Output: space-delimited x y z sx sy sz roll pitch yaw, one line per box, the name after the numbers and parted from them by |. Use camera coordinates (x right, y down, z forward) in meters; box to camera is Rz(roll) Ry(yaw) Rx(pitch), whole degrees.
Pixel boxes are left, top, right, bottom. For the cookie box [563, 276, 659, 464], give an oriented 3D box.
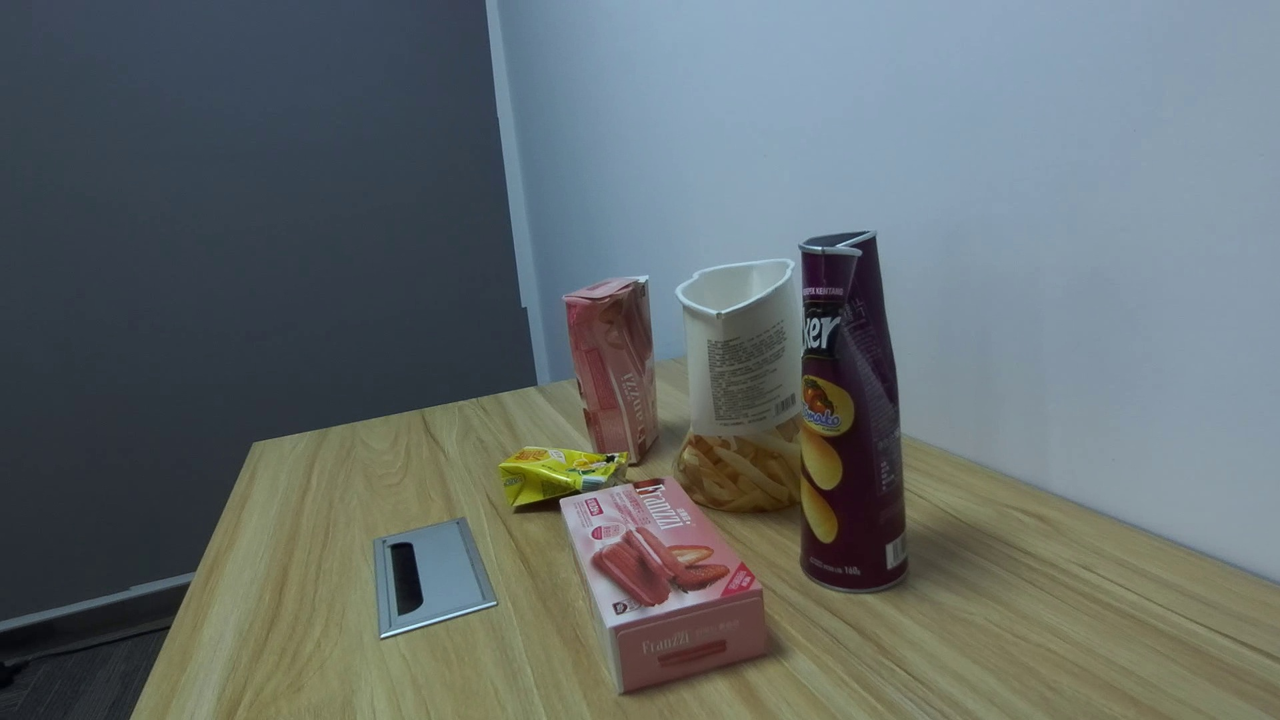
-0.022 0.012 0.748 0.055 0.184 0.119 0 16 24 | cookie box

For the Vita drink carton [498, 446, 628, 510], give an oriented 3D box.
-0.068 0.112 0.667 0.108 0.042 0.087 1 8 15 | Vita drink carton

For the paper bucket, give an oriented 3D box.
0.097 0.017 0.638 0.148 0.199 0.217 -10 14 -12 | paper bucket

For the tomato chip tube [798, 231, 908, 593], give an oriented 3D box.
0.144 0.035 0.480 0.078 0.235 0.076 -8 15 -10 | tomato chip tube

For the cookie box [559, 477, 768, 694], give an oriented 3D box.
0.006 0.144 0.494 0.096 0.048 0.184 -9 14 -14 | cookie box
